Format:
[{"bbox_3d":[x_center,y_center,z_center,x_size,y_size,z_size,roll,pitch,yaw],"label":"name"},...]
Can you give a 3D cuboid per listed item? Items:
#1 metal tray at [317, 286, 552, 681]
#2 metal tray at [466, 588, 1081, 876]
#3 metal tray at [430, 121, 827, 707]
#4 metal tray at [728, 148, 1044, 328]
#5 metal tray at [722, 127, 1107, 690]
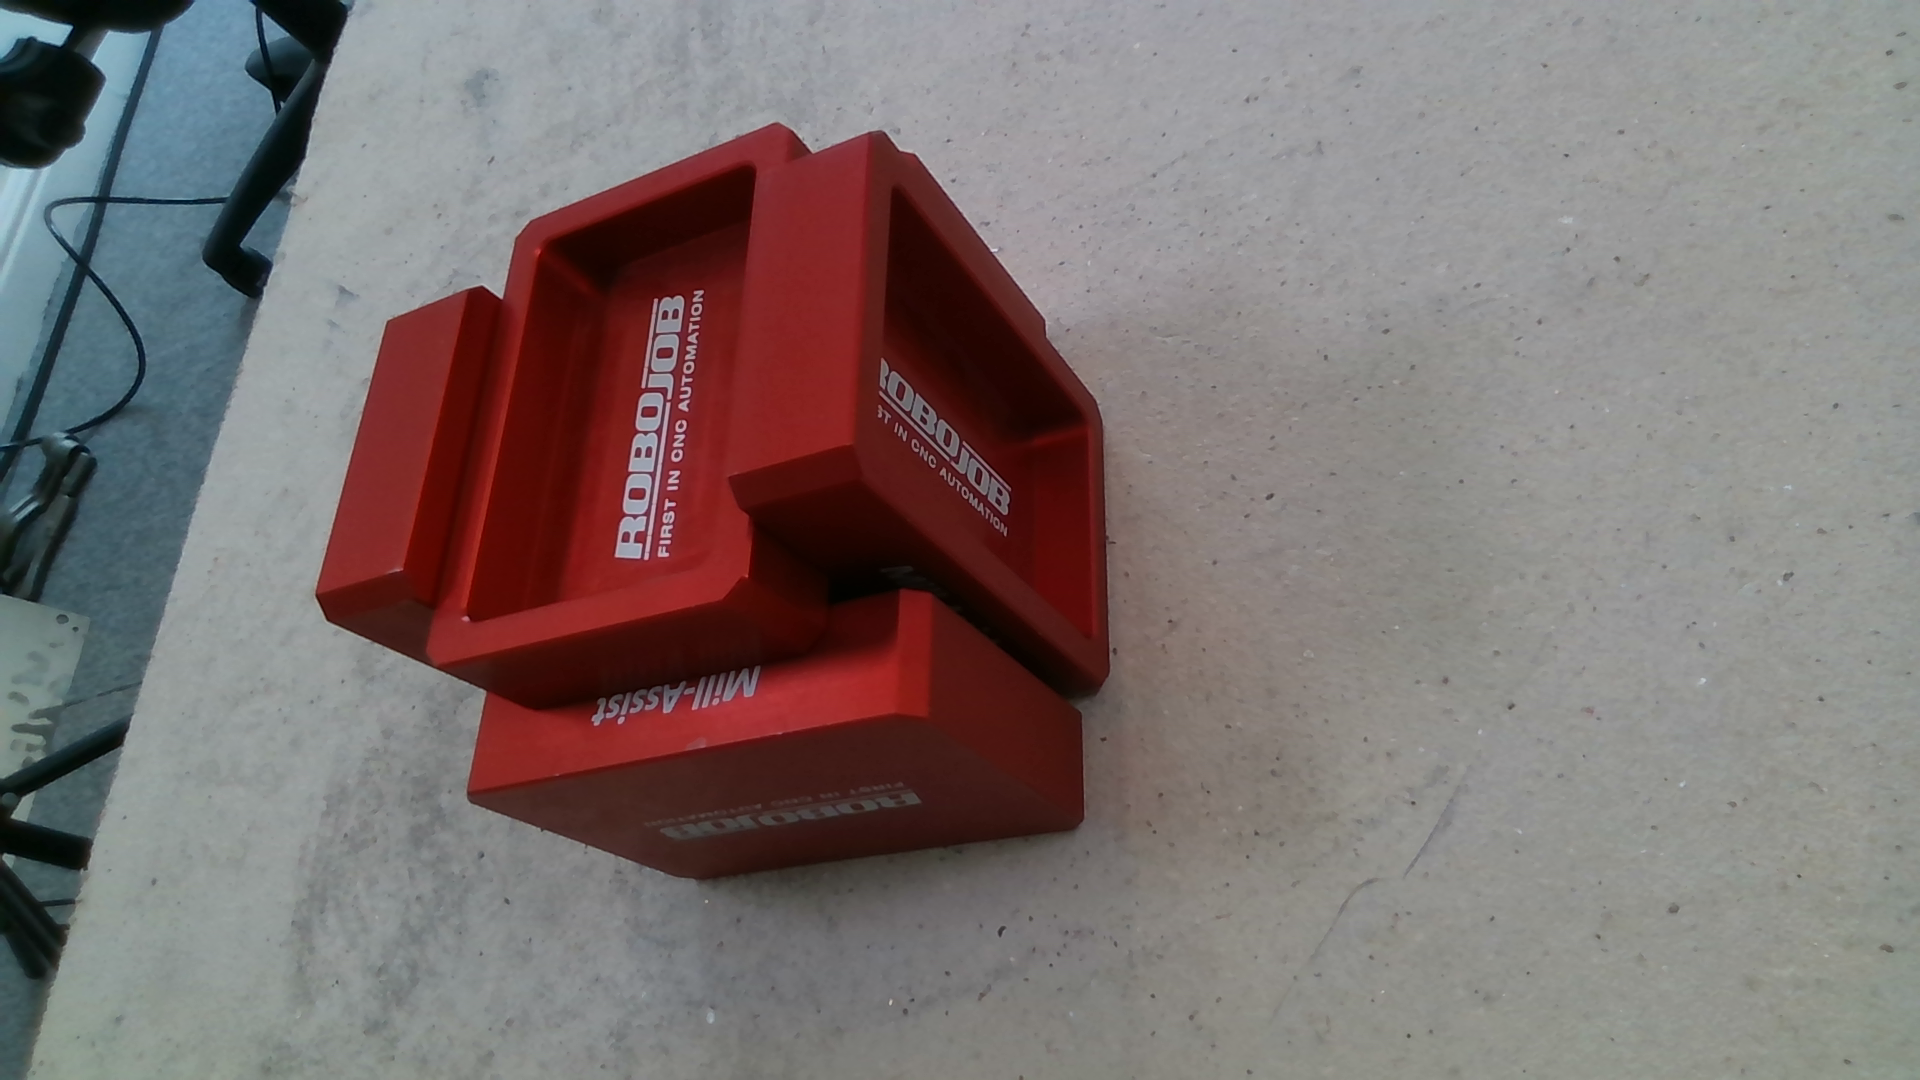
[{"bbox_3d":[-0.109,0.001,0.391,0.030,0.130,0.090,-13,59,26],"label":"metal tray"},{"bbox_3d":[-0.045,0.054,0.350,0.130,0.090,0.030,-12,59,25],"label":"metal tray"},{"bbox_3d":[-0.075,-0.031,0.336,0.090,0.030,0.130,-13,59,26],"label":"metal tray"},{"bbox_3d":[-0.050,-0.058,0.412,0.130,0.090,0.030,-15,59,24],"label":"metal tray"},{"bbox_3d":[-0.004,-0.025,0.339,0.030,0.130,0.090,-13,60,25],"label":"metal tray"}]
